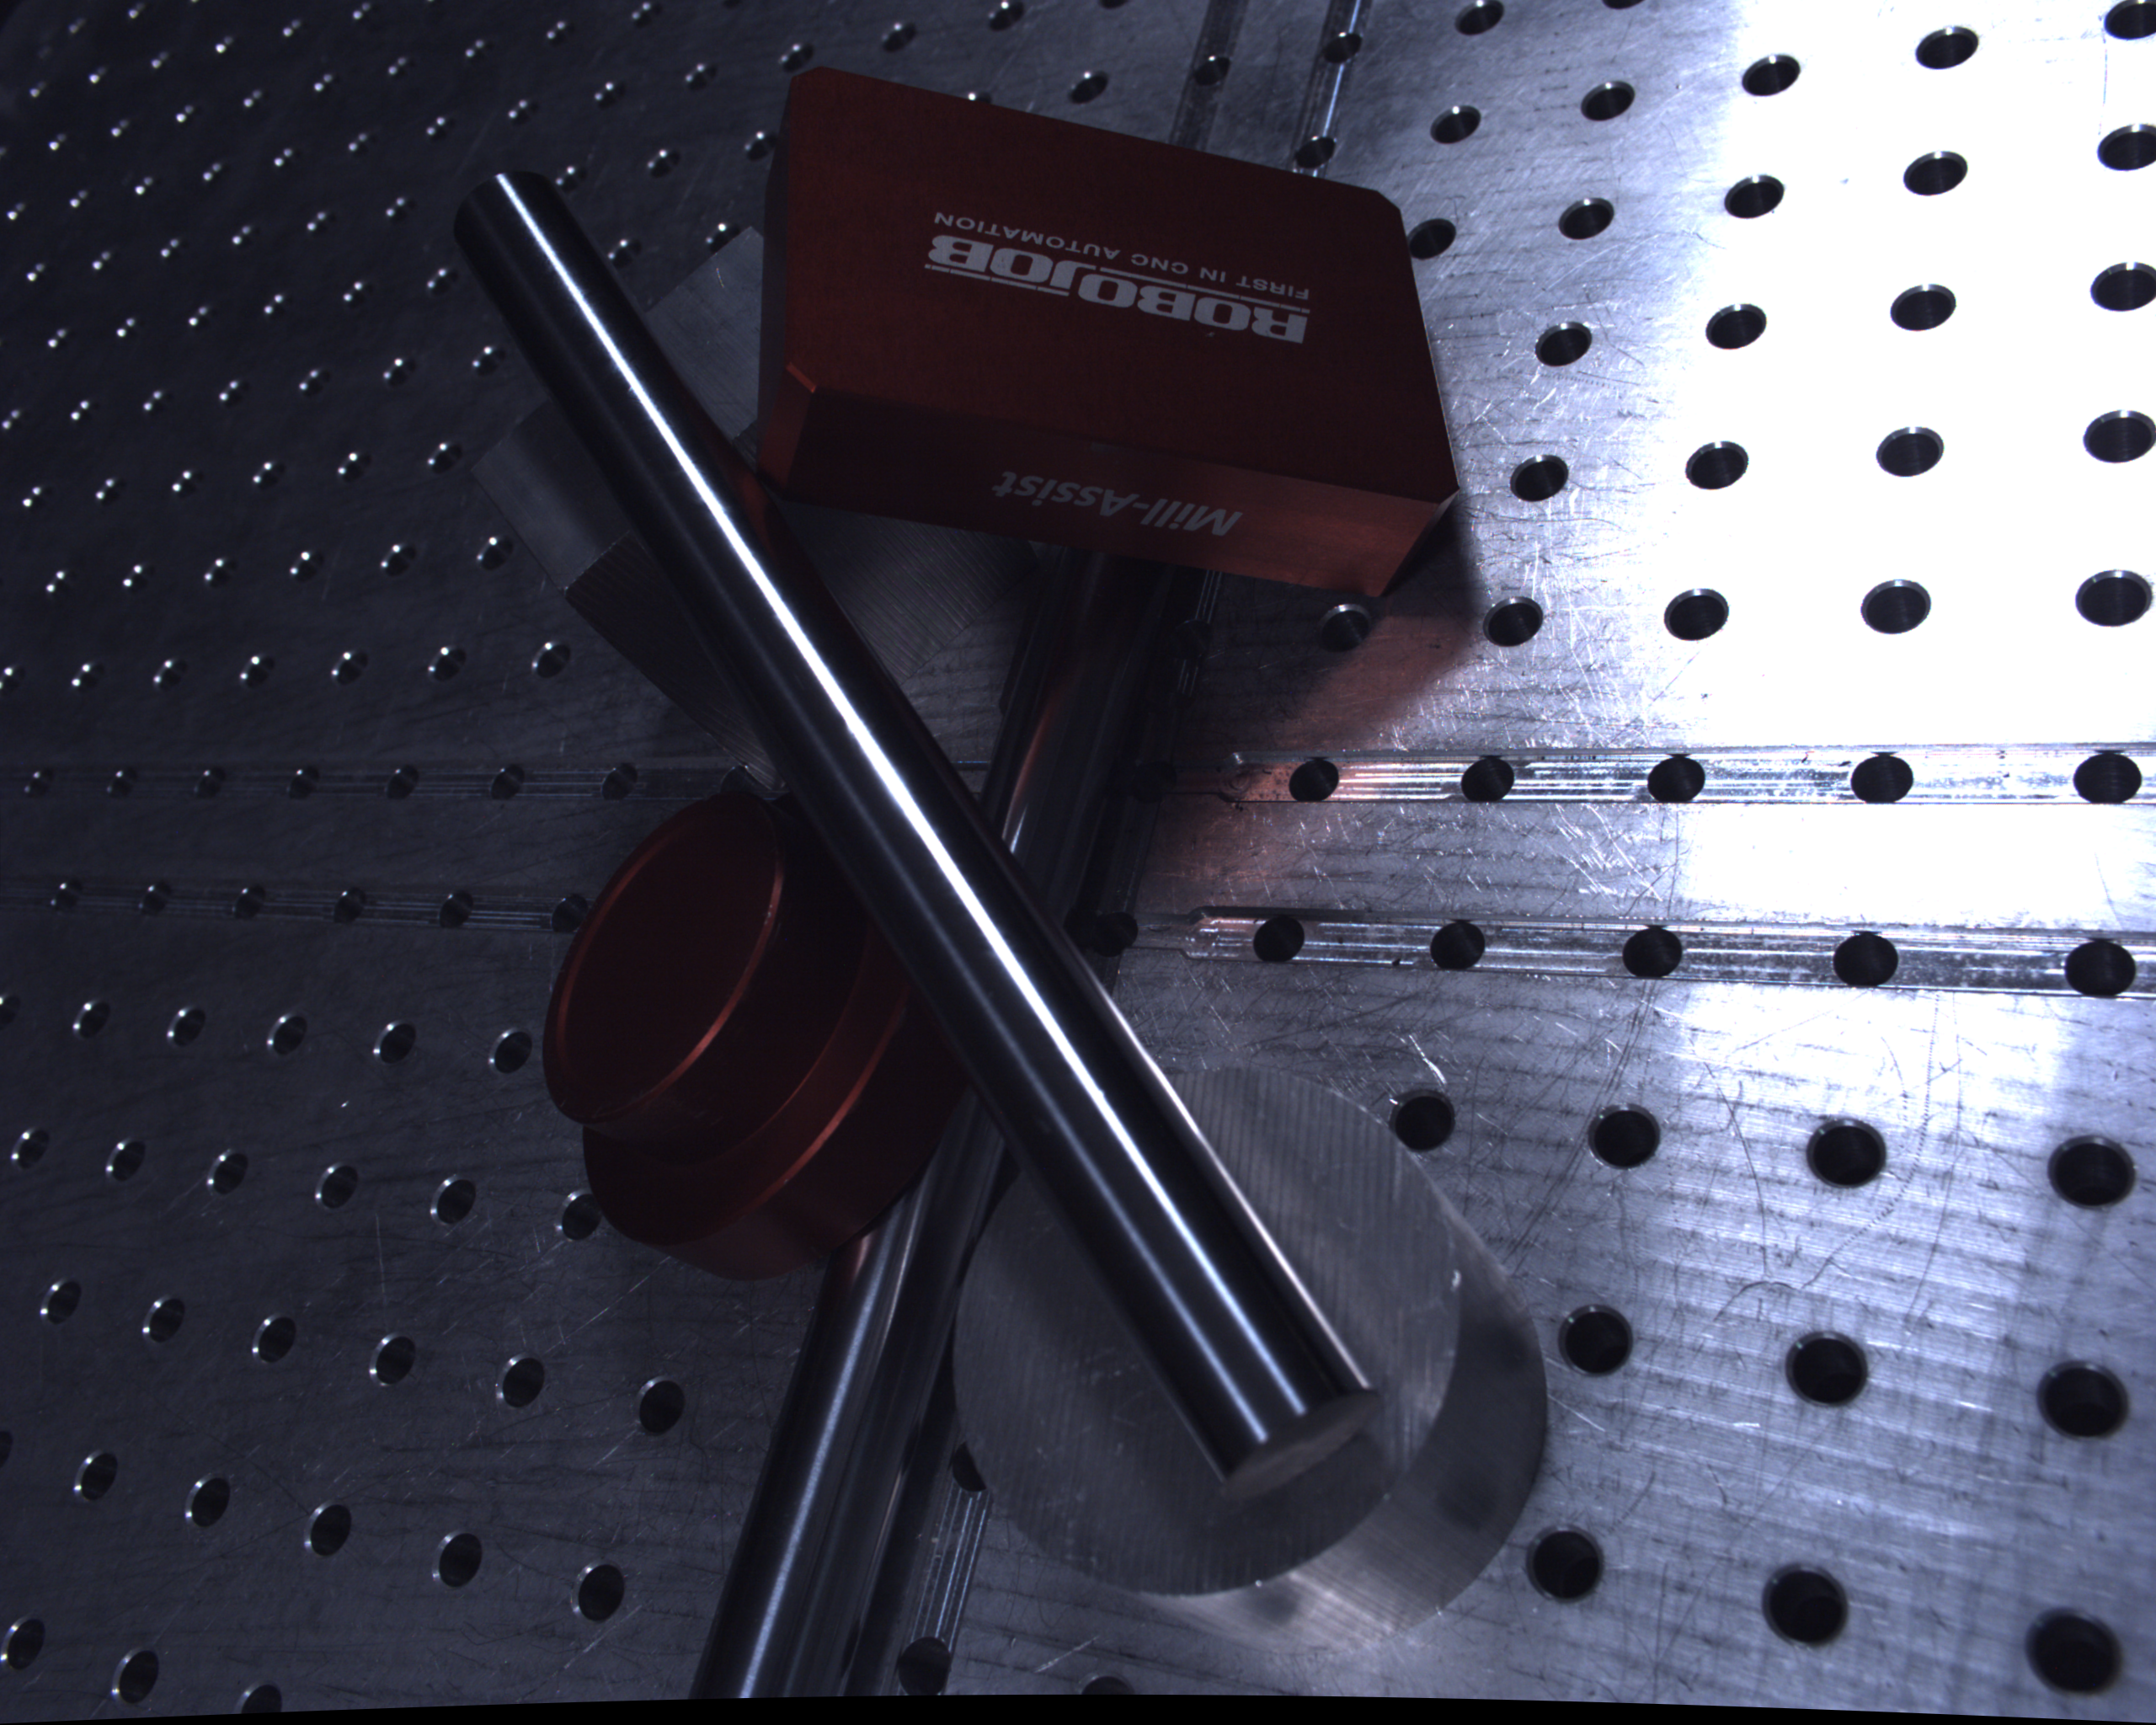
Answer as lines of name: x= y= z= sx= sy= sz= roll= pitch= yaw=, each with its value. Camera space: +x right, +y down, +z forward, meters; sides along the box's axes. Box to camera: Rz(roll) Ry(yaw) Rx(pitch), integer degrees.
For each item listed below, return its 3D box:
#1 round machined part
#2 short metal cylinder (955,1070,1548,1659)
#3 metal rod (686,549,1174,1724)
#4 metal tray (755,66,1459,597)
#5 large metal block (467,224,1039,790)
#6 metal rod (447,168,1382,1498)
round machined part: x=-0.063 y=0.026 z=0.393 sx=0.098 sy=0.042 sz=0.098 roll=-27 pitch=45 yaw=31
short metal cylinder: x=0.028 y=0.079 z=0.329 sx=0.080 sy=0.050 sz=0.080 roll=-13 pitch=56 yaw=20
metal rod: x=-0.014 y=0.012 z=0.407 sx=0.025 sy=0.025 sz=0.300 roll=3 pitch=63 yaw=29
metal tray: x=0.005 y=-0.105 z=0.415 sx=0.131 sy=0.030 sz=0.090 roll=7 pitch=55 yaw=-16
large metal block: x=-0.069 y=-0.075 z=0.454 sx=0.080 sy=0.080 sz=0.050 roll=-41 pitch=51 yaw=0
metal rod: x=-0.044 y=-0.027 z=0.356 sx=0.025 sy=0.025 sz=0.300 roll=-37 pitch=59 yaw=3
